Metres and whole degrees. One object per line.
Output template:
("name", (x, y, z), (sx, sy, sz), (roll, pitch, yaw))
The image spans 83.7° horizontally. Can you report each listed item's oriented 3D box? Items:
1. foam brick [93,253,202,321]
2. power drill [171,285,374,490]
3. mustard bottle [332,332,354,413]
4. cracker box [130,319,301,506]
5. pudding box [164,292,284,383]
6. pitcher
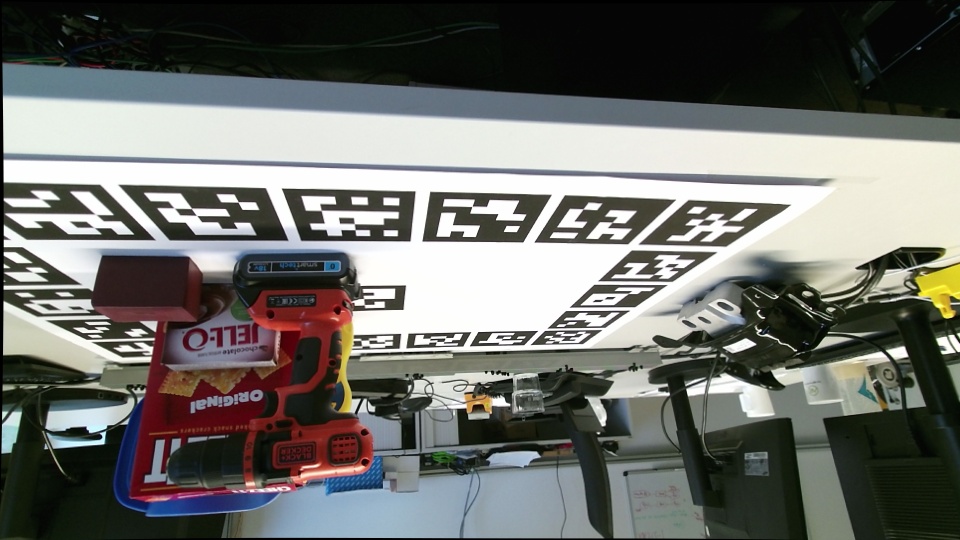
("foam brick", (-0.321, 0.017, 0.525), (0.078, 0.051, 0.053), (1, 154, -13))
("power drill", (-0.195, 0.109, 0.510), (0.185, 0.186, 0.057), (0, 159, -10))
("mustard bottle", (-0.218, 0.177, 0.712), (0.096, 0.190, 0.058), (5, 153, -23))
("cracker box", (-0.284, 0.141, 0.602), (0.165, 0.212, 0.072), (-4, 158, -10))
("pudding box", (-0.273, 0.072, 0.581), (0.114, 0.089, 0.039), (-3, 158, -13))
("pitcher", (-0.348, 0.189, 0.682), (0.189, 0.241, 0.133), (0, 156, -18))
